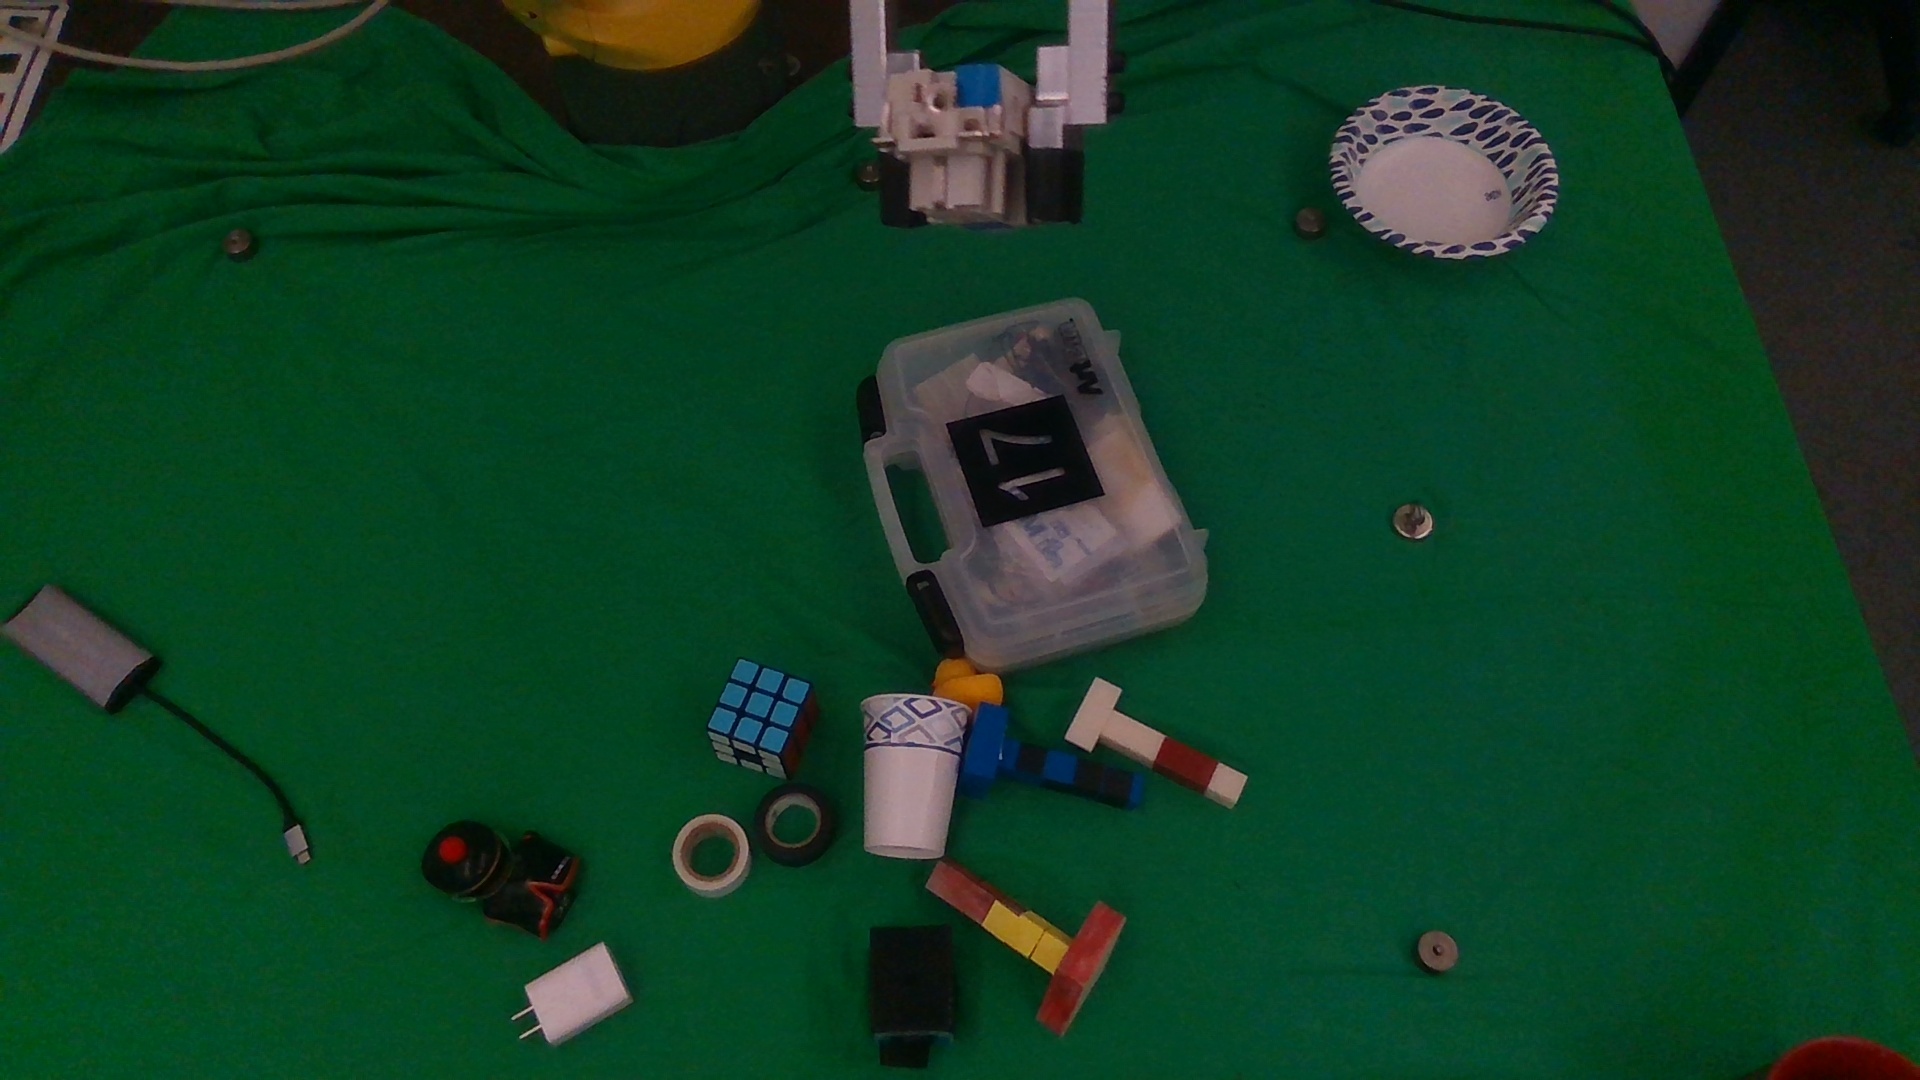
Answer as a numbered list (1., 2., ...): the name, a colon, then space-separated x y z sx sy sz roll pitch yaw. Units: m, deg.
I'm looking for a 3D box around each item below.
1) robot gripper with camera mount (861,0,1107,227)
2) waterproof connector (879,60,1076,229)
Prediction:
1. robot gripper with camera mount: 0.032 -0.181 0.424 0.119 0.158 0.193 8 17 21
2. waterproof connector: 0.006 -0.104 0.370 0.035 0.065 0.037 4 96 21
